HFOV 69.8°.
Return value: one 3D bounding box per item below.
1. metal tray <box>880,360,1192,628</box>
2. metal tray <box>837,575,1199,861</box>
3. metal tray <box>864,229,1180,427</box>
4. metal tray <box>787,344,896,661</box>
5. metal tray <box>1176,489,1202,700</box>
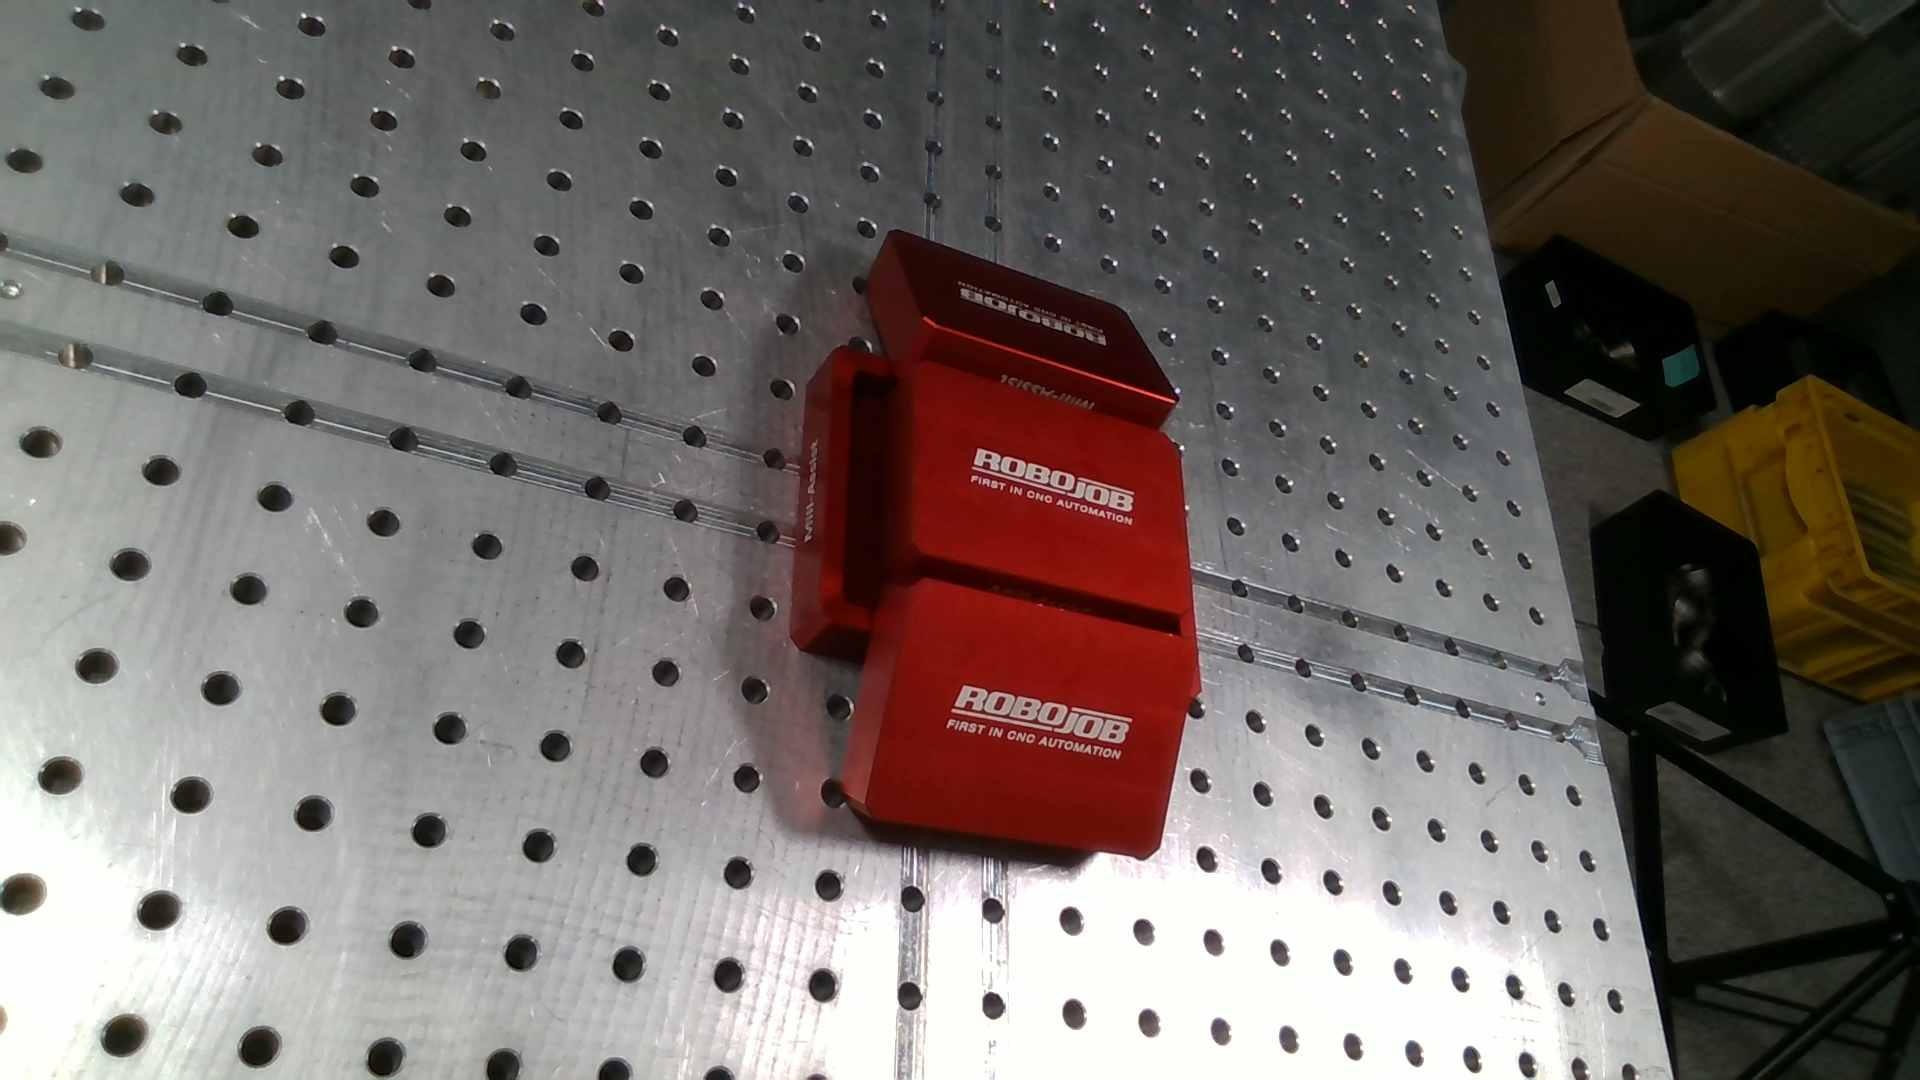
[{"bbox_3d":[0.032,-0.015,0.574,0.130,0.030,0.090,14,59,-25],"label":"metal tray"},{"bbox_3d":[0.025,0.071,0.539,0.130,0.030,0.090,14,86,-25],"label":"metal tray"},{"bbox_3d":[0.027,-0.091,0.628,0.130,0.030,0.090,14,33,-25],"label":"metal tray"},{"bbox_3d":[-0.022,-0.011,0.579,0.090,0.030,0.130,14,59,-24],"label":"metal tray"},{"bbox_3d":[0.059,0.009,0.617,0.090,0.030,0.130,14,59,-24],"label":"metal tray"}]
